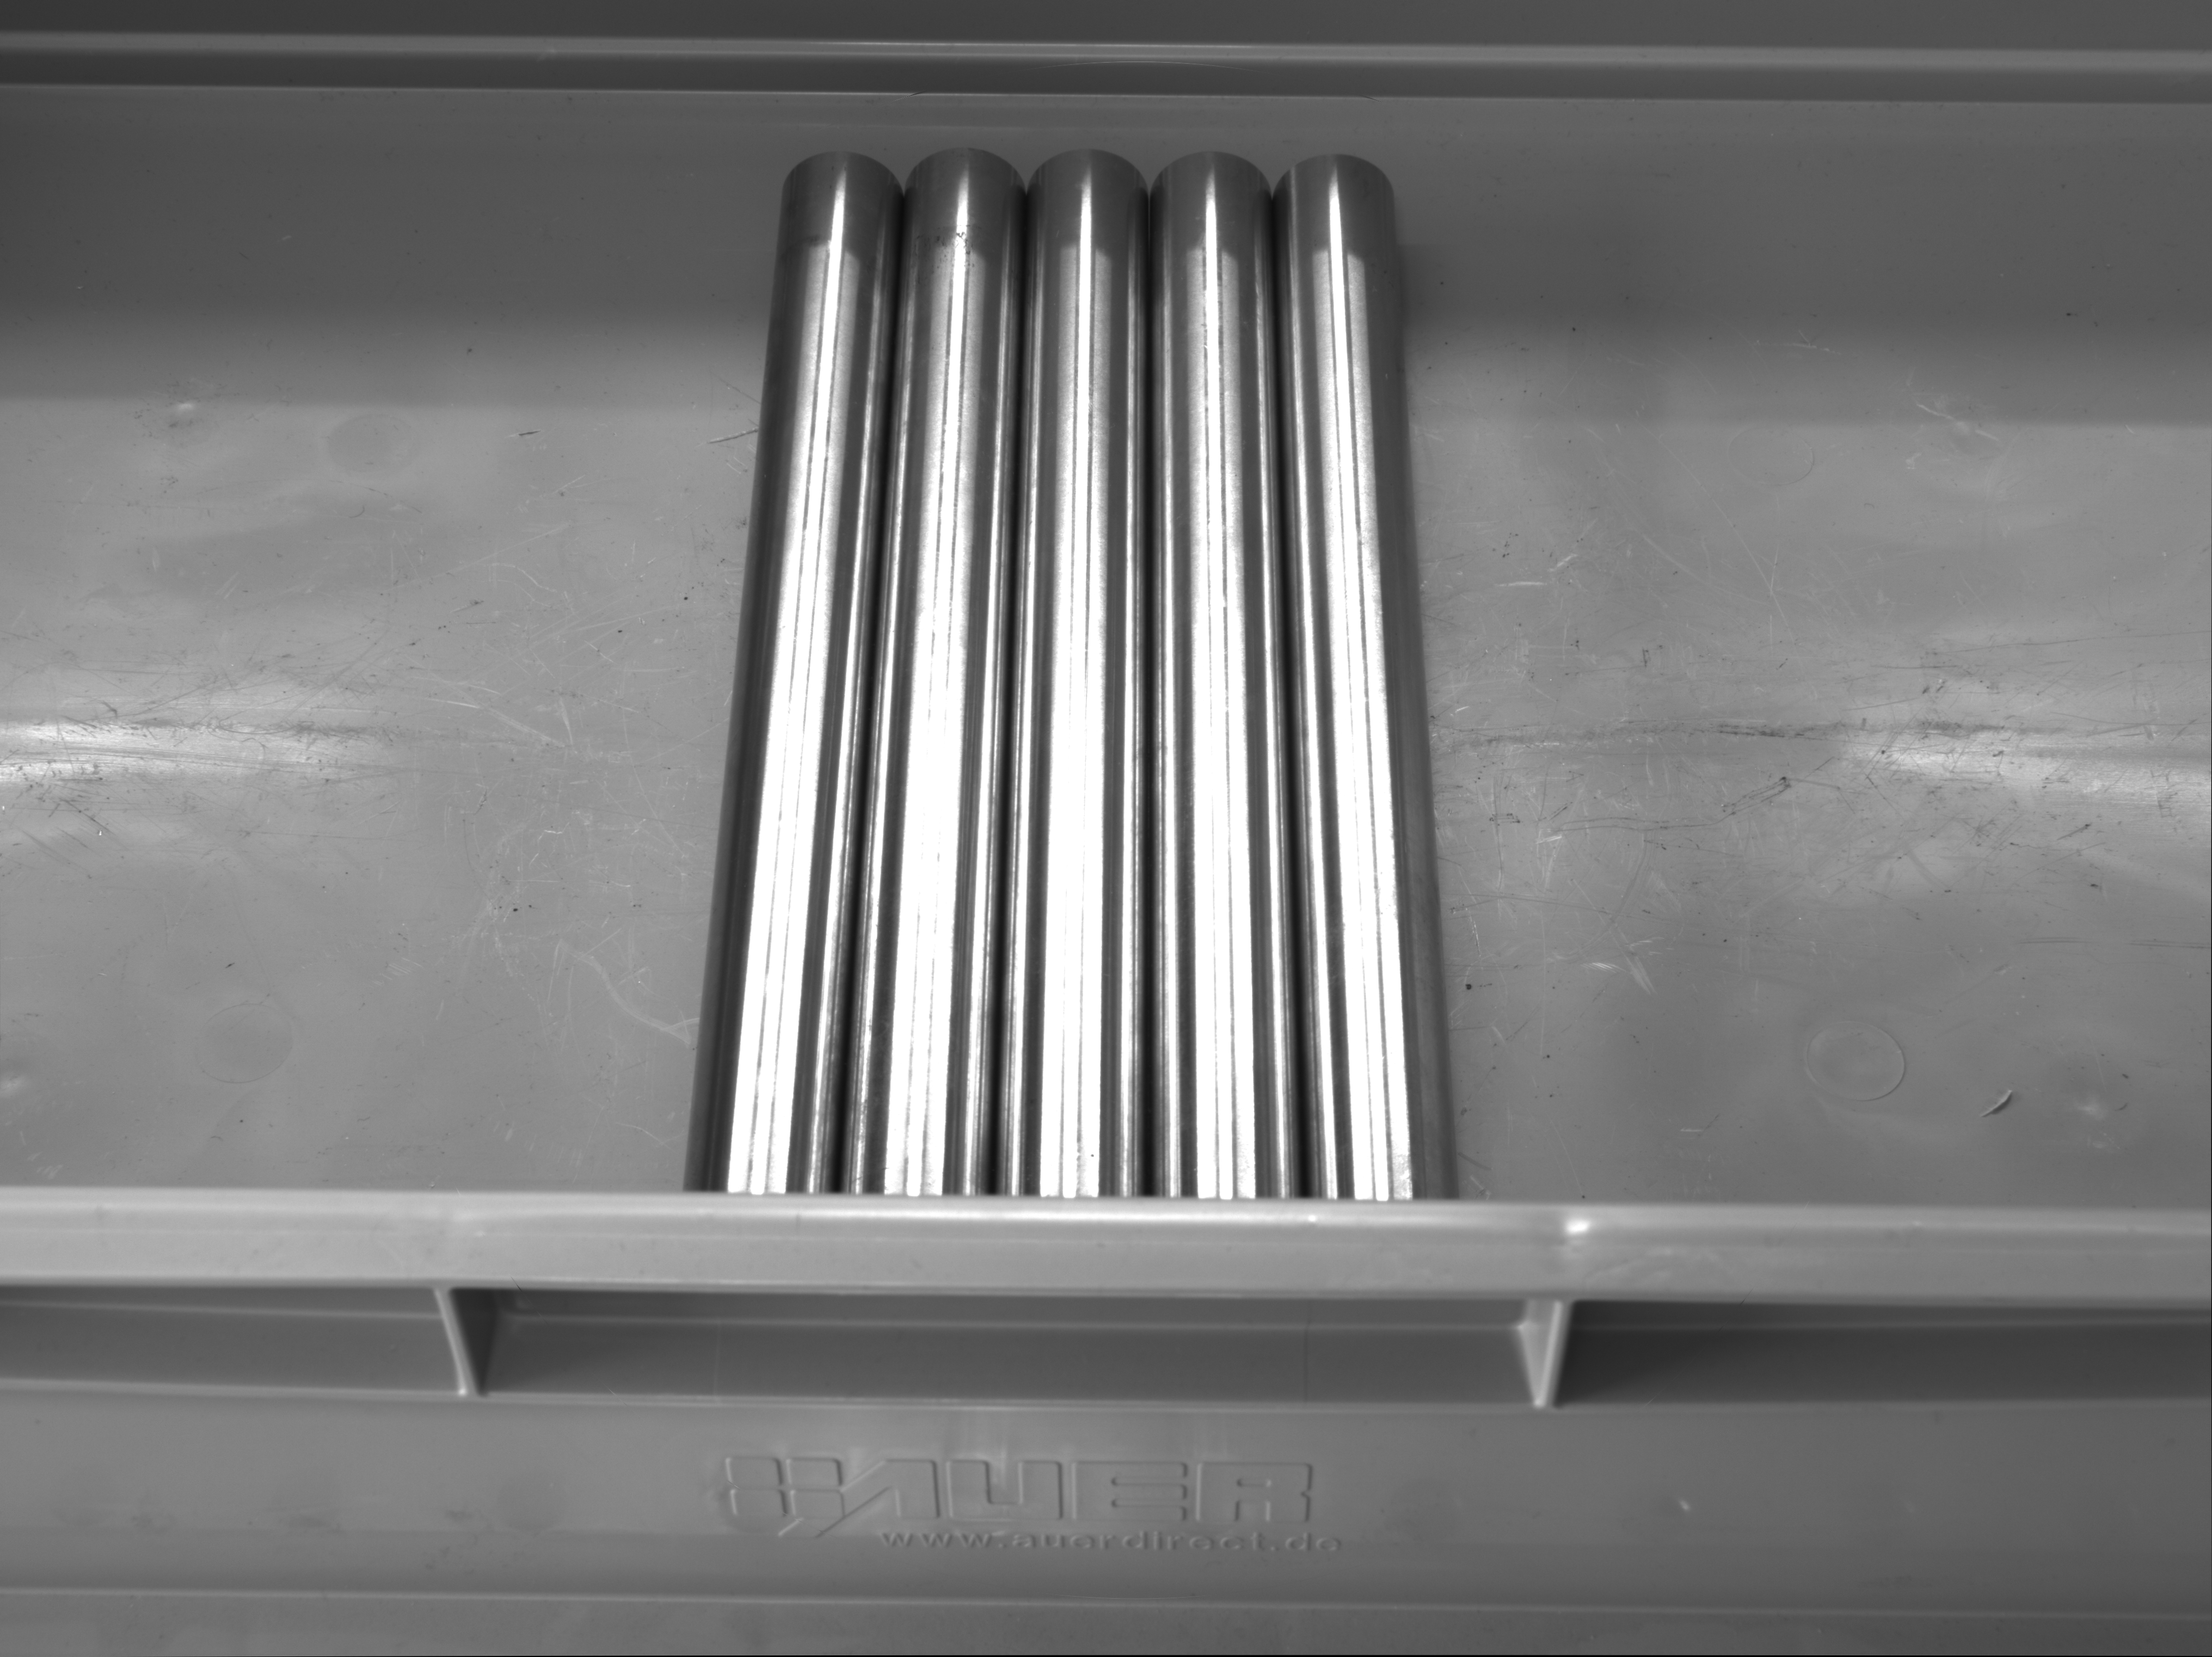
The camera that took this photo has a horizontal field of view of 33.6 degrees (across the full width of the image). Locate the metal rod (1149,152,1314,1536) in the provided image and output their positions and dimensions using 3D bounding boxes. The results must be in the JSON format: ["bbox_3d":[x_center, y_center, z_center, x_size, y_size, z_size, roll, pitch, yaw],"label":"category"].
[{"bbox_3d":[0.020,-0.014,0.652,0.025,0.025,0.300,0,50,0],"label":"metal rod"}]

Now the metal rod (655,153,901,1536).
[{"bbox_3d":[-0.055,-0.014,0.652,0.025,0.025,0.300,0,50,0],"label":"metal rod"}]

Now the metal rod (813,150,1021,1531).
[{"bbox_3d":[-0.031,-0.014,0.653,0.025,0.025,0.300,0,50,0],"label":"metal rod"}]

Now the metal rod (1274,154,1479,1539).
[{"bbox_3d":[0.045,-0.013,0.652,0.025,0.025,0.300,0,50,0],"label":"metal rod"}]

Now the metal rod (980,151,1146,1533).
[{"bbox_3d":[-0.005,-0.014,0.653,0.025,0.025,0.300,0,50,0],"label":"metal rod"}]
